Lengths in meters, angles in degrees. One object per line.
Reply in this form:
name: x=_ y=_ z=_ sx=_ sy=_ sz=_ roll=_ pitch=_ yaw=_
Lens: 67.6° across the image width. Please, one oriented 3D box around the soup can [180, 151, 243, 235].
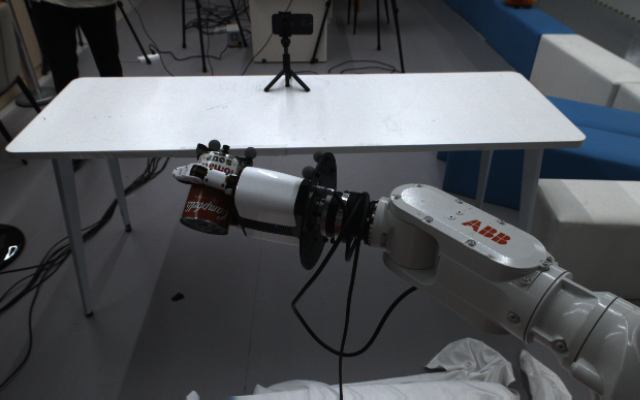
soup can: x=-0.149 y=-0.008 z=0.678 sx=0.067 sy=0.067 sz=0.101 roll=8 pitch=71 yaw=9
